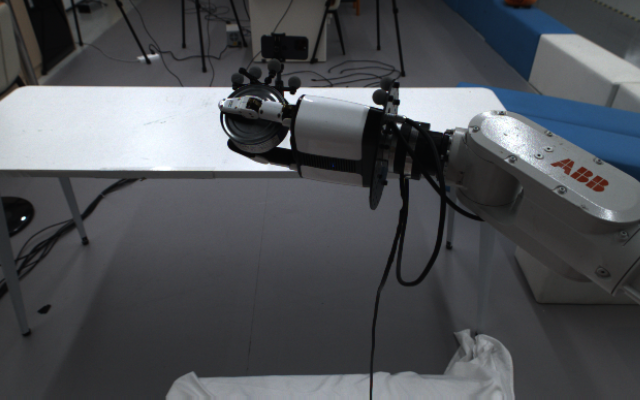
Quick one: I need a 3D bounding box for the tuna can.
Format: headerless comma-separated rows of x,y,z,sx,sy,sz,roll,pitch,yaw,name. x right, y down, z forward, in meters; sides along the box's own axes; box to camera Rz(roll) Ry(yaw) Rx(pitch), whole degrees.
-0.083,-0.106,0.625,0.085,0.034,0.085,-3,69,8,tuna can
